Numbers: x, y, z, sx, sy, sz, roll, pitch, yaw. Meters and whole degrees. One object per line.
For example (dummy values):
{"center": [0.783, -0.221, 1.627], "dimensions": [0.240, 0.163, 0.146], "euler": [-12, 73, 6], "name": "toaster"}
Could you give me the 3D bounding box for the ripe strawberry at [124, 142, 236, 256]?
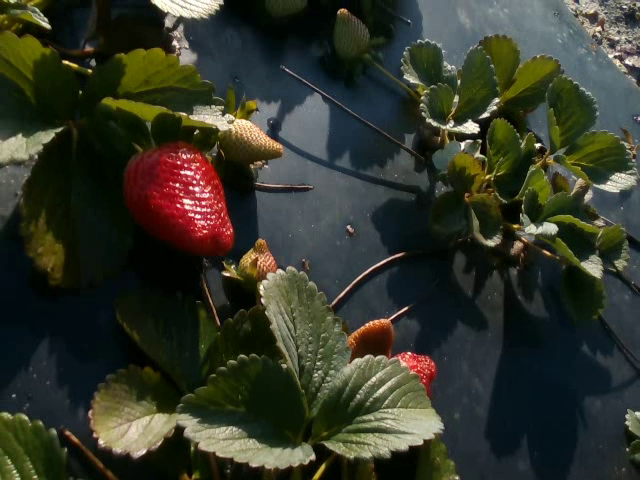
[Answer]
{"center": [-0.061, -0.016, 0.288], "dimensions": [0.072, 0.057, 0.055], "euler": [46, 8, 25], "name": "ripe strawberry"}
